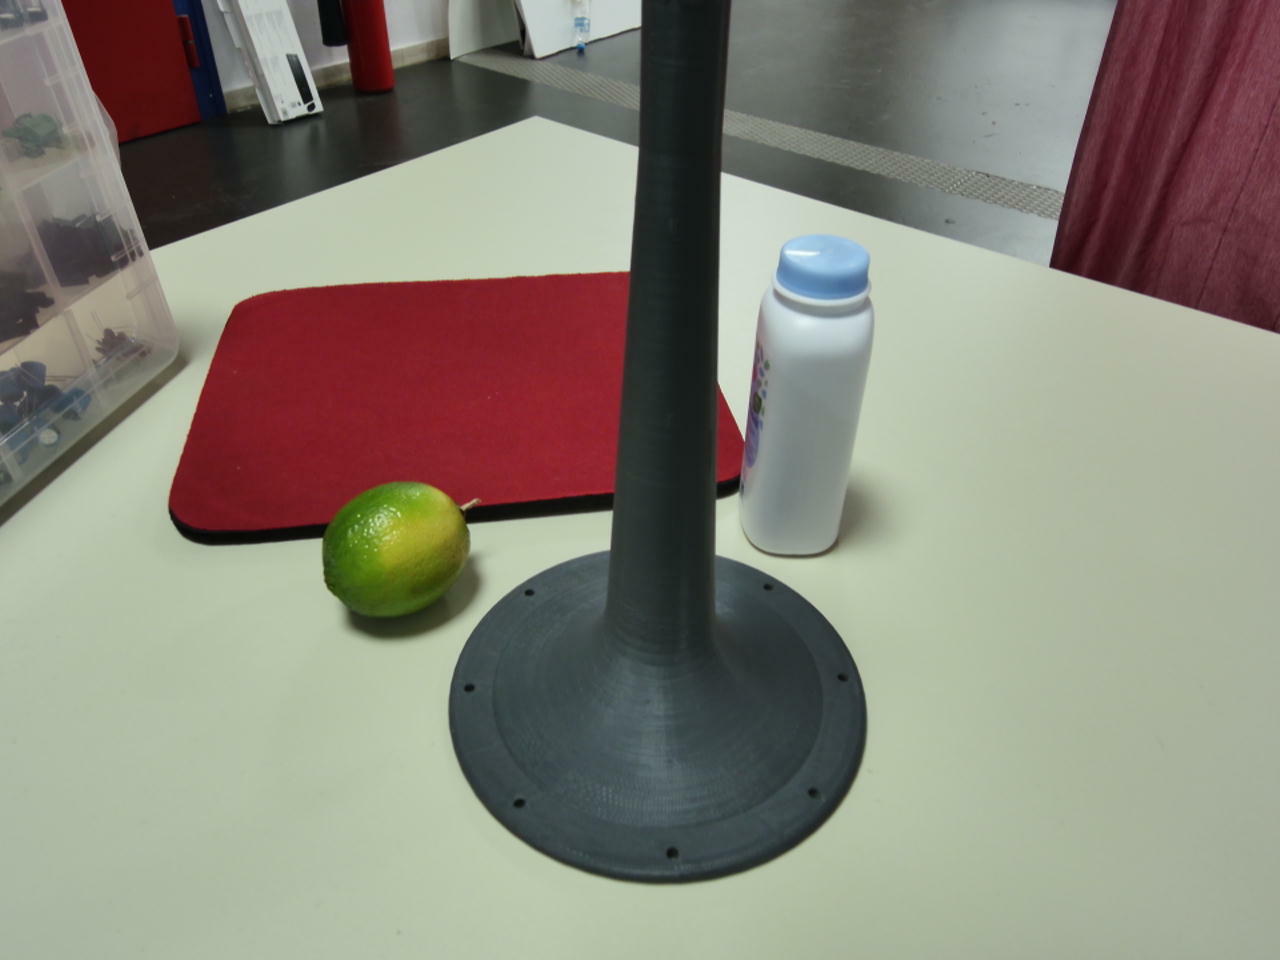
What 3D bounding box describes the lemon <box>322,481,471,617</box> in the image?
[{"bbox_3d":[-0.094,0.026,0.387,0.055,0.050,0.054,0,36,-2],"label":"lemon"}]
